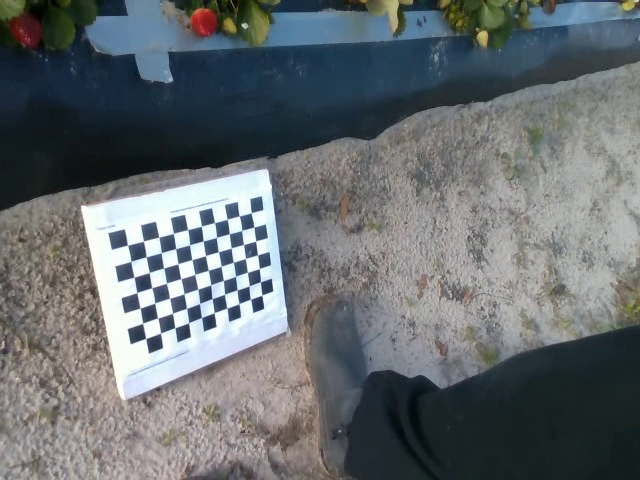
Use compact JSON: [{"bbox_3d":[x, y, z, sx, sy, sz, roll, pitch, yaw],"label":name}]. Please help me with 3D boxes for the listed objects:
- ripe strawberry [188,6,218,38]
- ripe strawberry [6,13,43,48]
[{"bbox_3d":[-0.076,-0.145,0.422,0.023,0.026,0.021,-3,-32,-16],"label":"ripe strawberry"},{"bbox_3d":[-0.162,-0.115,0.346,0.018,0.022,0.021,-22,-9,-19],"label":"ripe strawberry"}]
